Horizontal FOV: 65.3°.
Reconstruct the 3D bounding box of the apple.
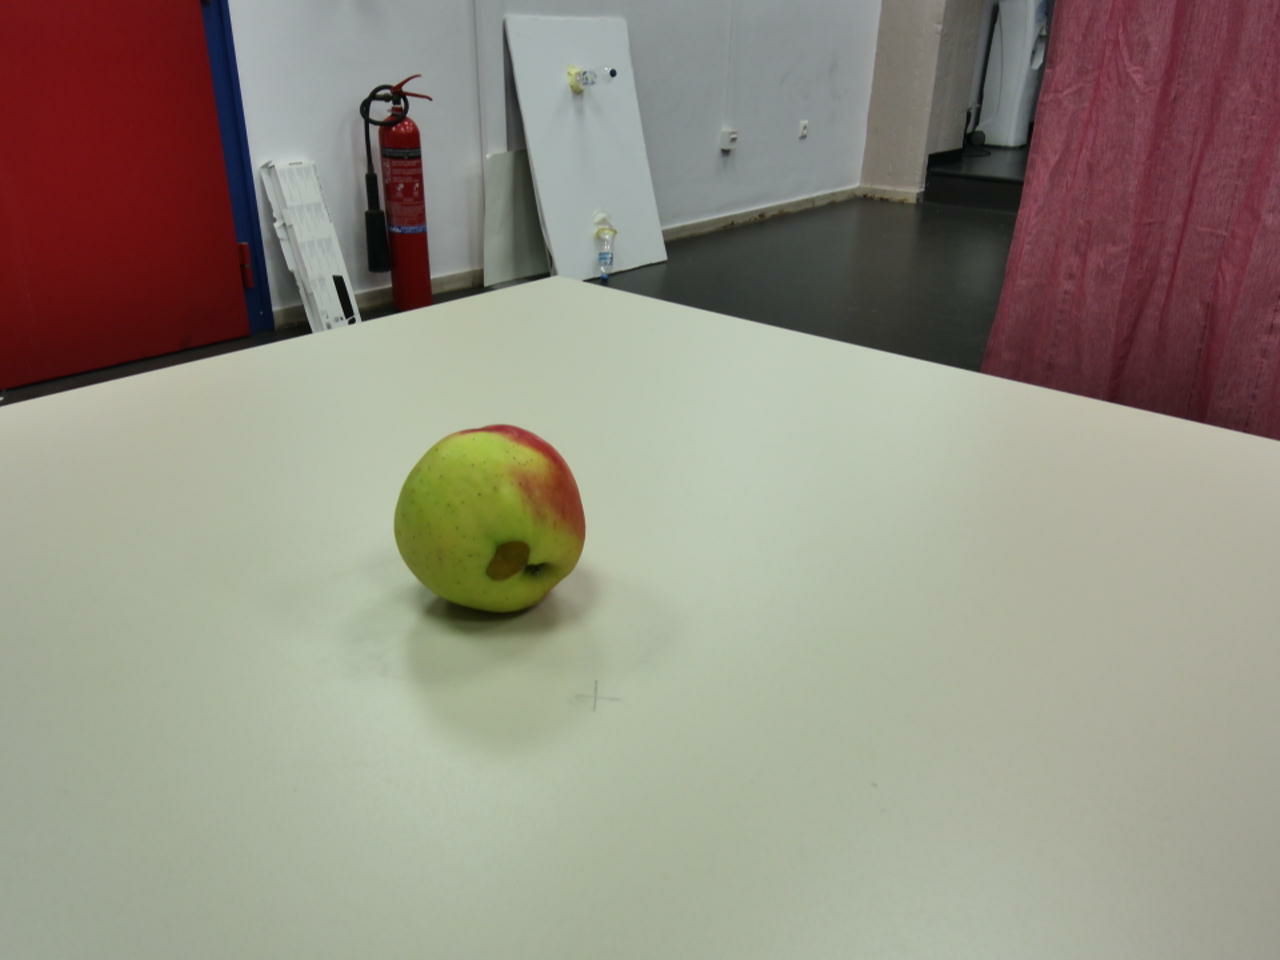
[{"bbox_3d":[-0.059,0.015,0.406,0.075,0.074,0.075,9,24,18],"label":"apple"}]
